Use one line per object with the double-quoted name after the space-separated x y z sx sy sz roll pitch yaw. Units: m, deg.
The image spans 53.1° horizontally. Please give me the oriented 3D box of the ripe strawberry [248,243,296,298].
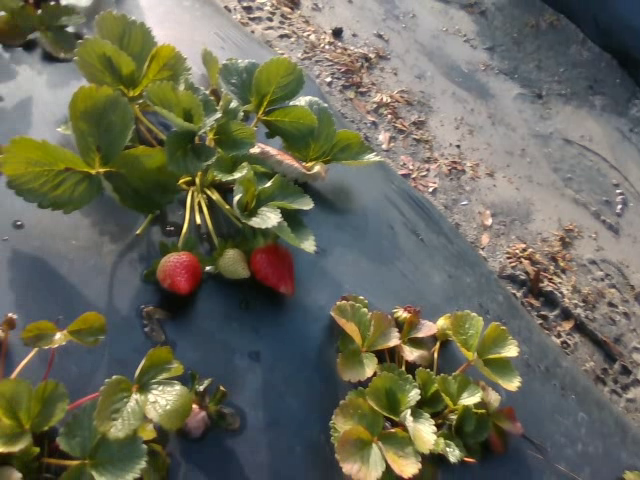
-0.043 0.032 0.623 0.048 0.065 0.050 -29 -18 8 "ripe strawberry"
